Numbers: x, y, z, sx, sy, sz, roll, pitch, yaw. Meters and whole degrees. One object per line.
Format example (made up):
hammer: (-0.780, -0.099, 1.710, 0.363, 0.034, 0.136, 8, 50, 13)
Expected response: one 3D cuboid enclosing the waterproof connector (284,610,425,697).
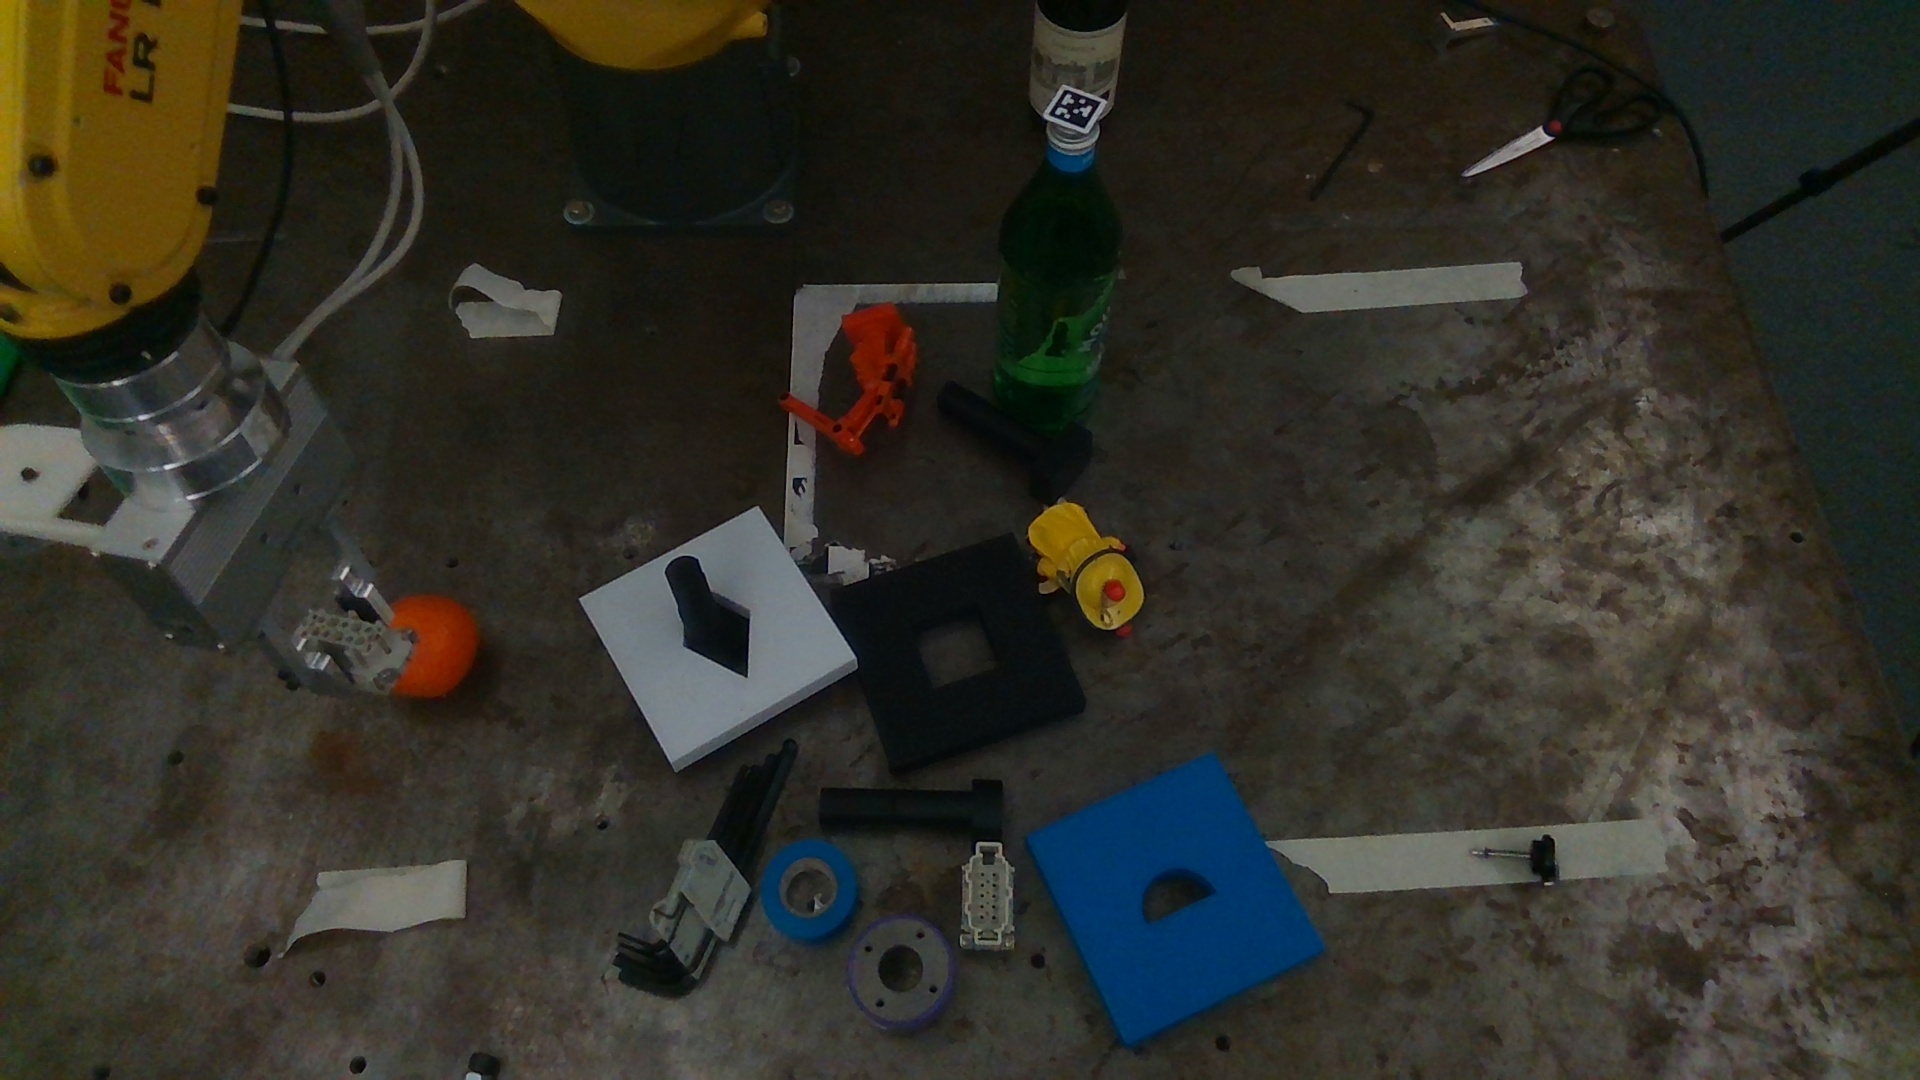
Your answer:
waterproof connector: (-0.326, 0.058, 0.748, 0.069, 0.038, 0.036, 8, 61, 11)
